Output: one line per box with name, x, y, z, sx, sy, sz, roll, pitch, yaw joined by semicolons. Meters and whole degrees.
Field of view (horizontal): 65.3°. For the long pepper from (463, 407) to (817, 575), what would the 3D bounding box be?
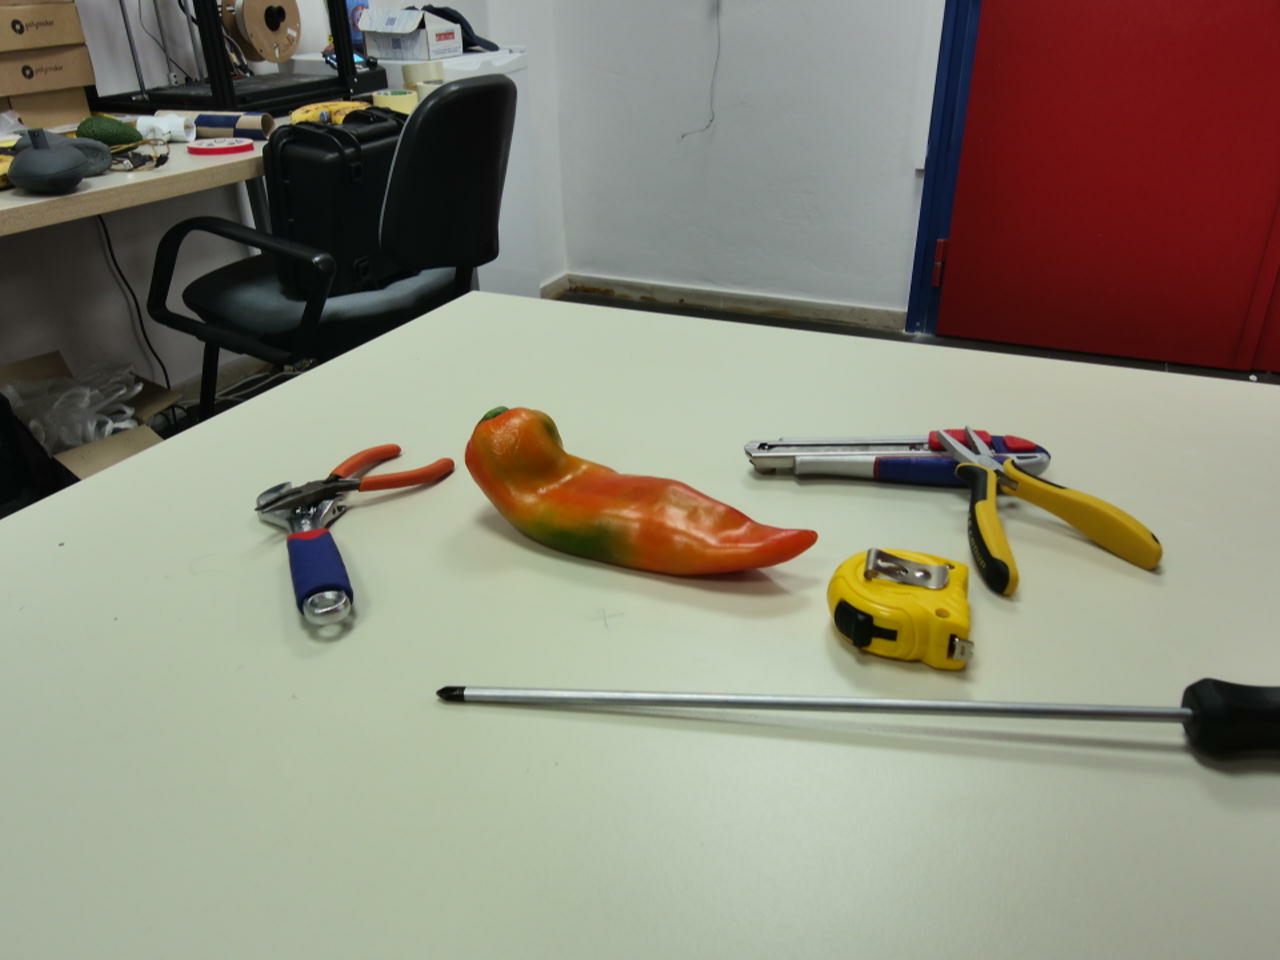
long pepper;-0.006;0.006;0.520;0.199;0.065;0.066;13;28;27
